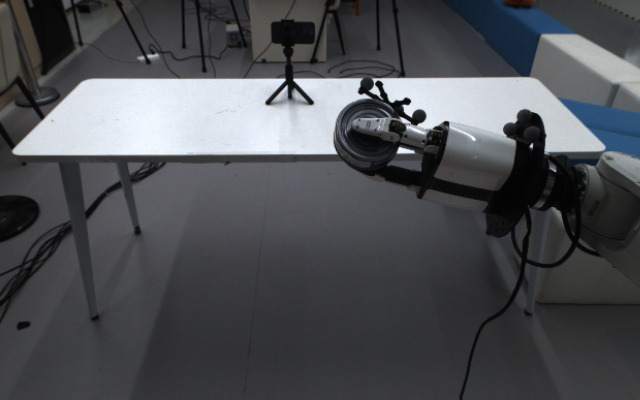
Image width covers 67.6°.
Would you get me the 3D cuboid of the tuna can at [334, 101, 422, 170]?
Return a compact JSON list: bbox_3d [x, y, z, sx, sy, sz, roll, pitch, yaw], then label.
[{"bbox_3d":[0.065,-0.077,0.606,0.085,0.034,0.085,0,74,0],"label":"tuna can"}]
